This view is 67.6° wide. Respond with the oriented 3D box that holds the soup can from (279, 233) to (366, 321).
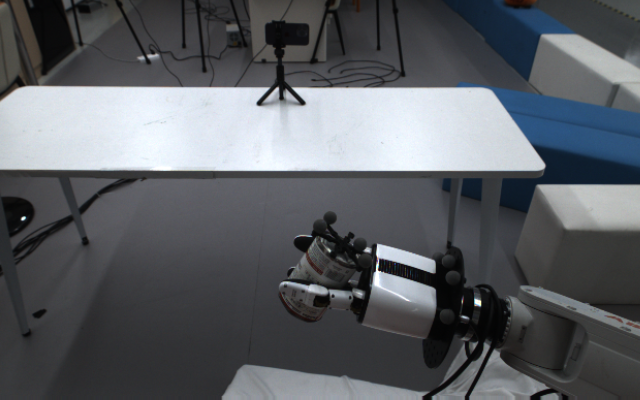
[{"bbox_3d":[0.002,0.100,0.629,0.067,0.101,0.067,28,21,-12],"label":"soup can"}]
